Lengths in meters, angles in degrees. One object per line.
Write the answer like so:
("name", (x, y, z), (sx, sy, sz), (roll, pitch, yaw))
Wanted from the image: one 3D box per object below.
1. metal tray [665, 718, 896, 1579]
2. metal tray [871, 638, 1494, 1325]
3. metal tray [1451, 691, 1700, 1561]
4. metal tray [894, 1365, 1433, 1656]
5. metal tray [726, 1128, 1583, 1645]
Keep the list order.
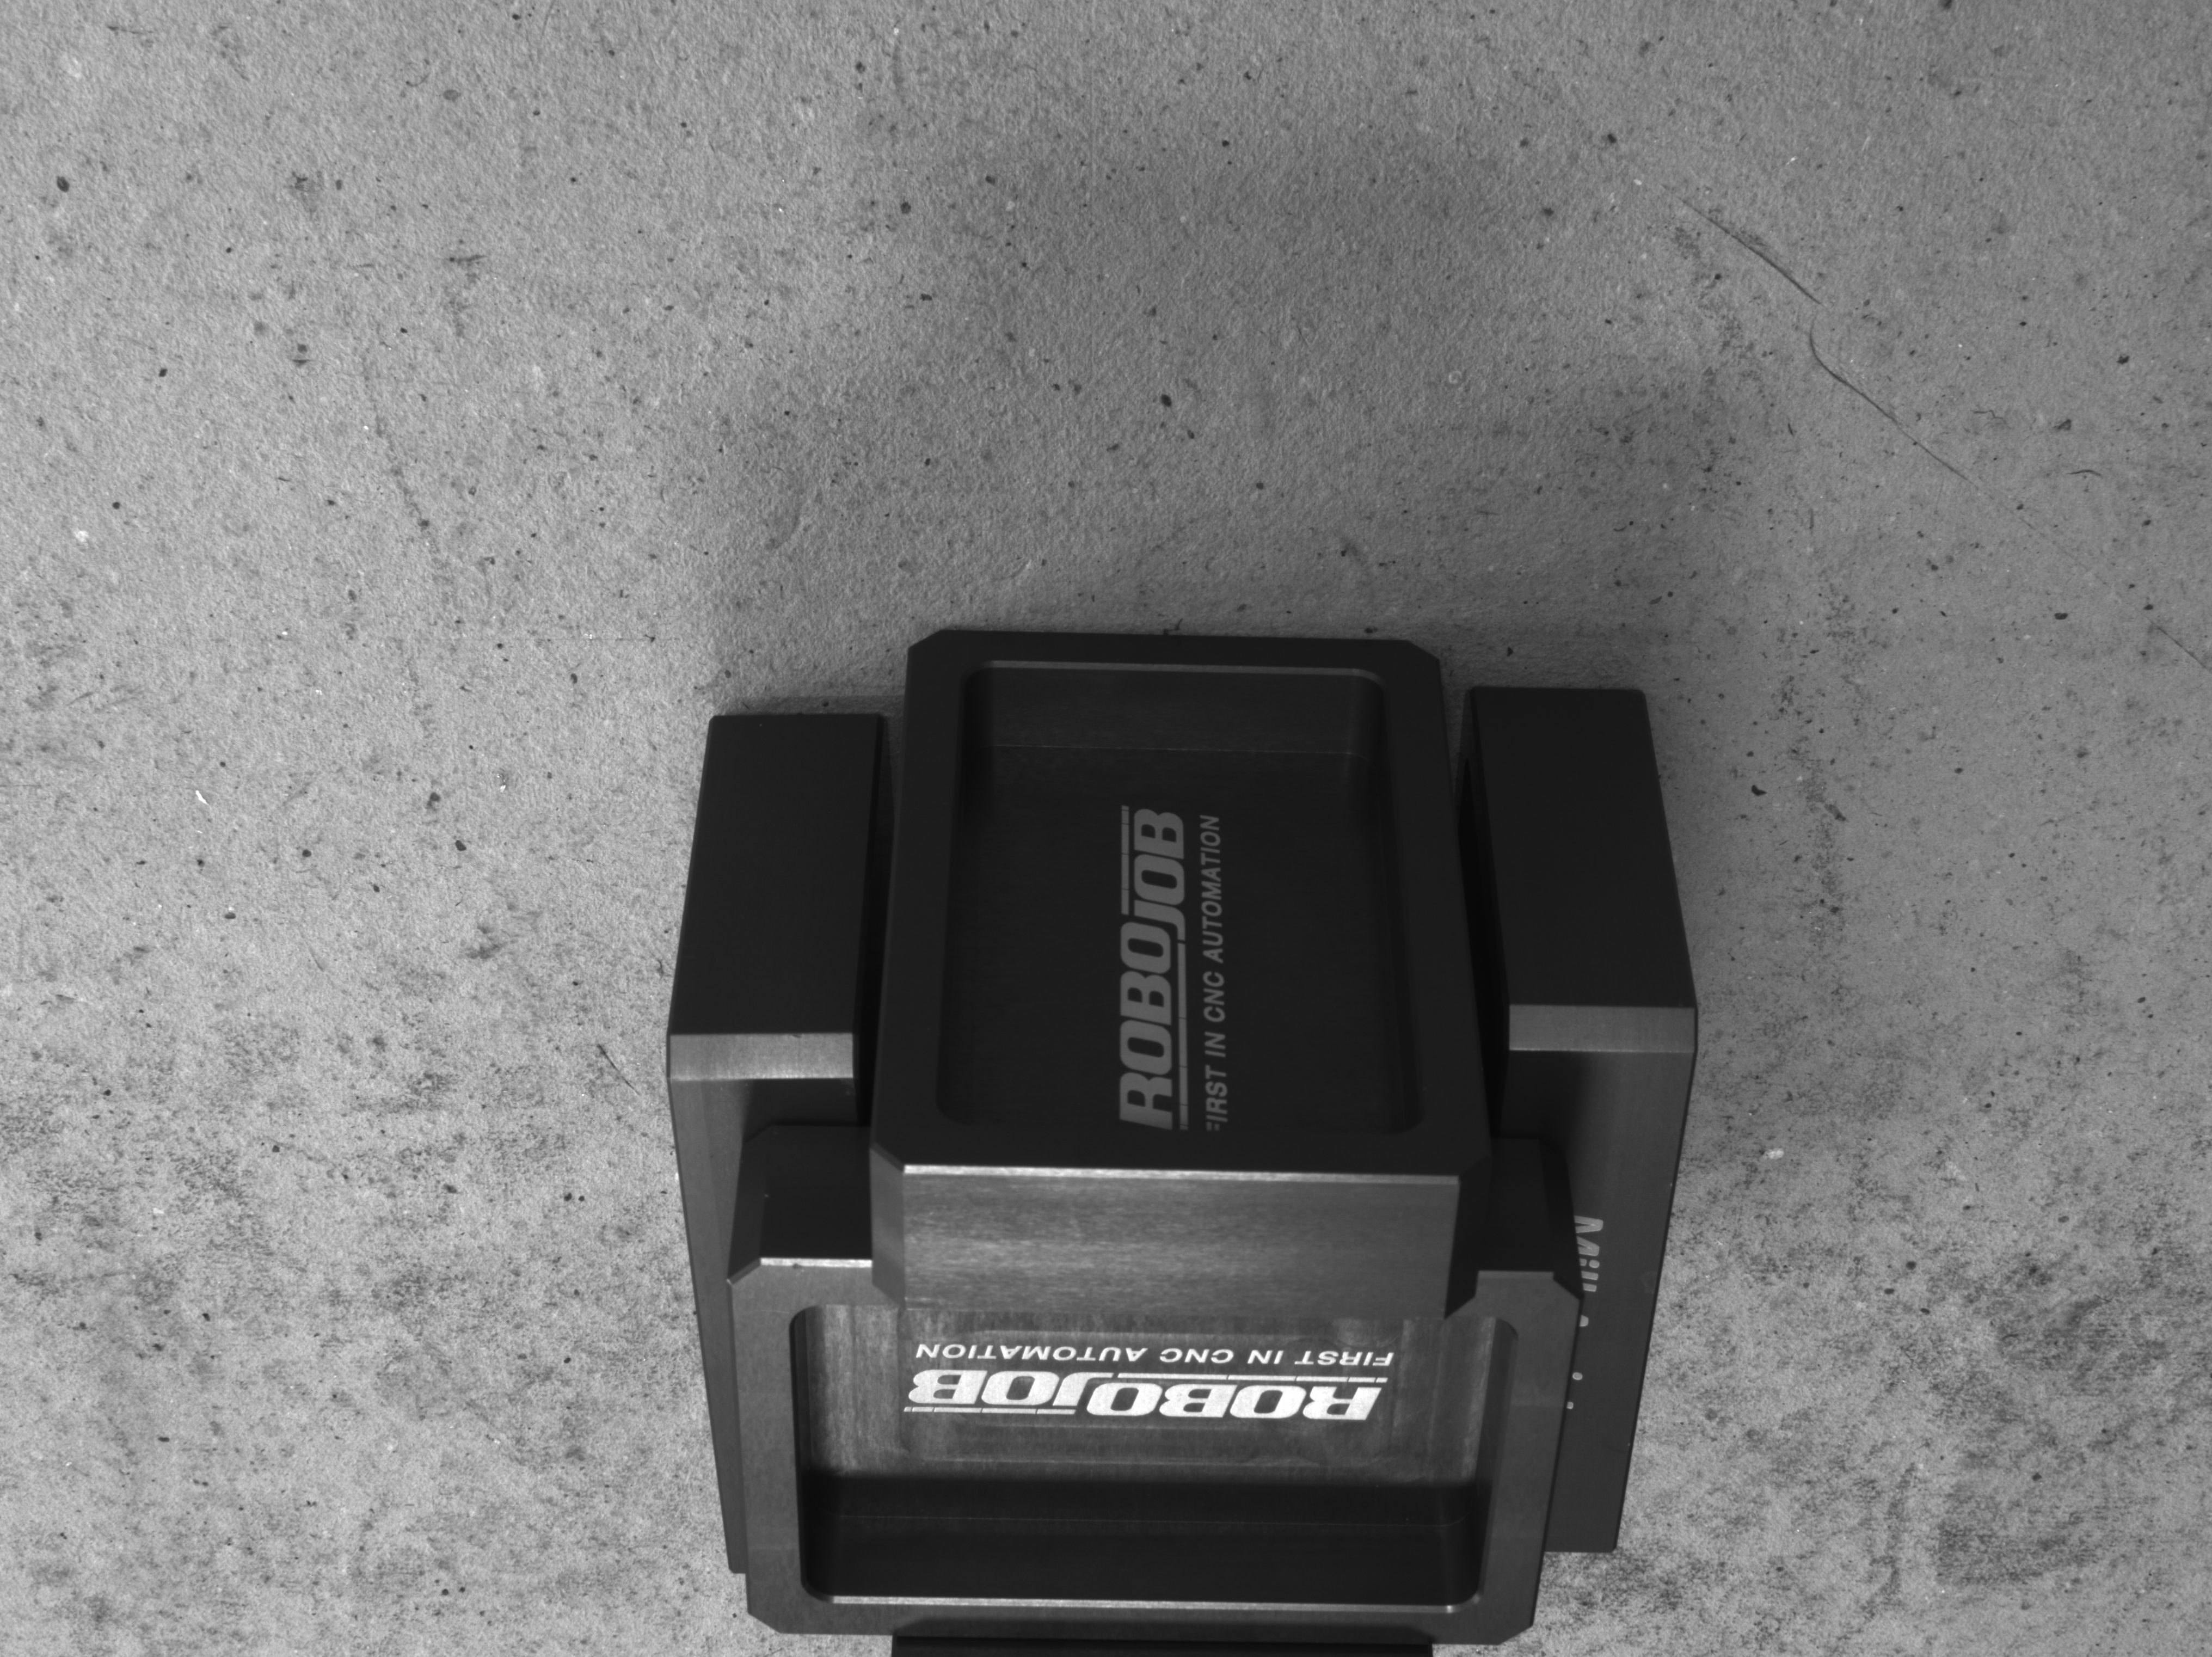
("metal tray", (-0.053, 0.057, 0.644), (0.030, 0.090, 0.130), (-1, 130, 0))
("metal tray", (0.011, 0.021, 0.587), (0.090, 0.130, 0.030), (1, 130, -1))
("metal tray", (0.076, 0.052, 0.640), (0.030, 0.090, 0.130), (1, 129, 0))
("metal tray", (0.010, 0.112, 0.664), (0.090, 0.130, 0.030), (1, 131, -1))
("metal tray", (0.007, 0.091, 0.595), (0.130, 0.030, 0.090), (1, 130, -1))
